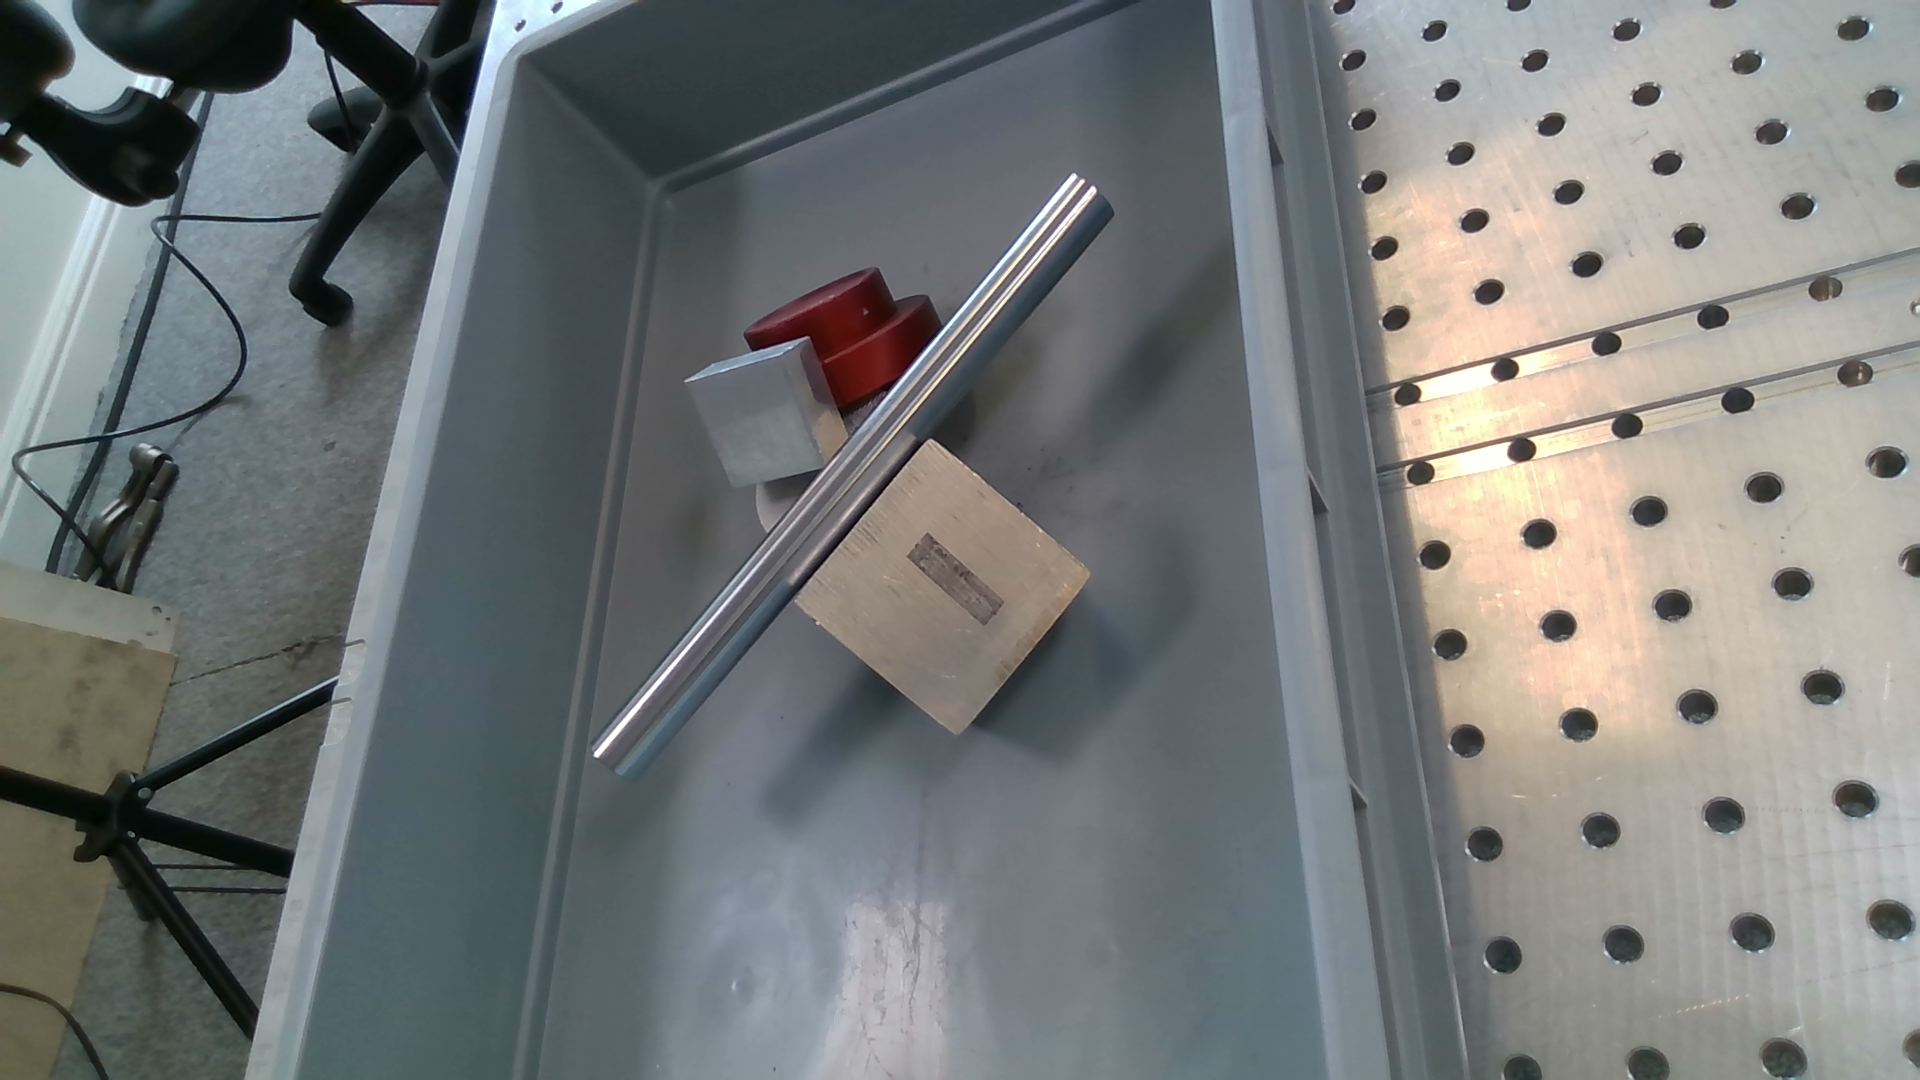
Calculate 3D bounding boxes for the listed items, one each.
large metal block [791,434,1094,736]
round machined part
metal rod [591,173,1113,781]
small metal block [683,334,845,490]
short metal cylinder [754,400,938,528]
[{"bbox_3d":[-0.008,0.016,0.536,0.080,0.050,0.080,39,89,-4],"label":"large metal block"},{"bbox_3d":[-0.059,-0.091,0.624,0.098,0.042,0.098,-24,17,8],"label":"round machined part"},{"bbox_3d":[-0.043,-0.026,0.560,0.300,0.025,0.025,-50,51,-1],"label":"metal rod"},{"bbox_3d":[-0.081,-0.054,0.579,0.050,0.050,0.025,-12,20,27],"label":"small metal block"},{"bbox_3d":[-0.043,-0.022,0.605,0.080,0.050,0.080,-14,59,25],"label":"short metal cylinder"}]
